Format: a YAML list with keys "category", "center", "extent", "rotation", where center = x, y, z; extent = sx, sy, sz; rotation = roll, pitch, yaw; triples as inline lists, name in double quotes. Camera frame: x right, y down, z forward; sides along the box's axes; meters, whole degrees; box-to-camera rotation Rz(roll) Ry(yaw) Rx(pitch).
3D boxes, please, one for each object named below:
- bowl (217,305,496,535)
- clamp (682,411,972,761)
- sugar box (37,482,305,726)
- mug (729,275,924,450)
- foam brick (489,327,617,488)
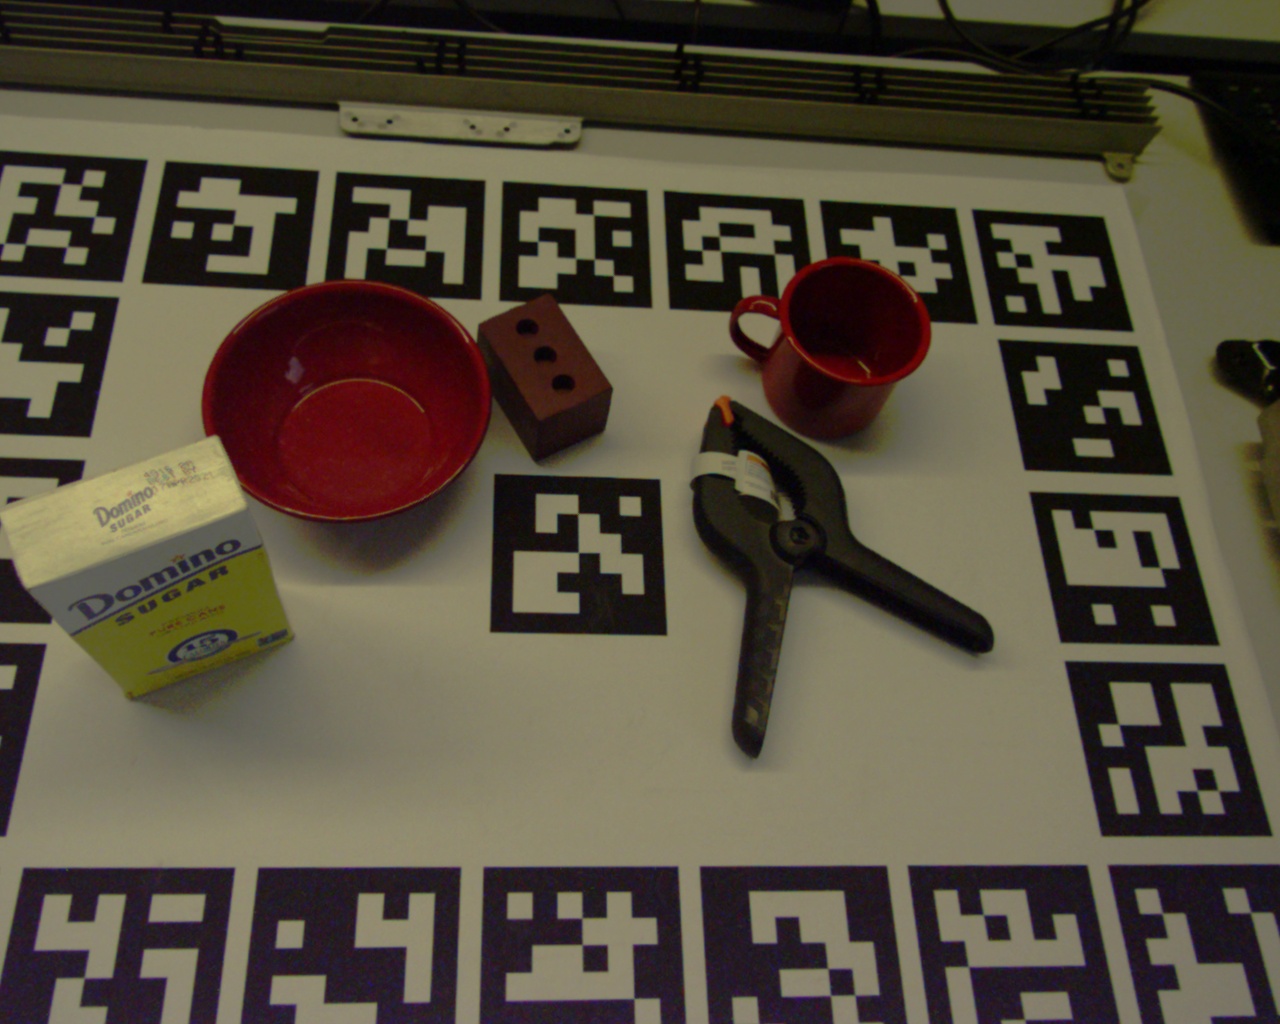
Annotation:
- category: "bowl"
  center: [-0.169, -0.044, 0.692]
  extent: [0.161, 0.055, 0.162]
  rotation: [3, 65, -7]
- category: "clamp"
  center: [0.085, 0.027, 0.697]
  extent: [0.164, 0.036, 0.204]
  rotation: [-23, 71, -15]
- category: "sugar box"
  center: [-0.226, 0.053, 0.574]
  extent: [0.092, 0.177, 0.045]
  rotation: [-23, 73, -19]
- category: "mug"
  center: [0.112, -0.097, 0.737]
  extent: [0.117, 0.081, 0.093]
  rotation: [25, 65, 0]
- category: "foam brick"
  center: [-0.057, -0.065, 0.726]
  extent: [0.052, 0.051, 0.078]
  rotation: [-26, 73, -17]
